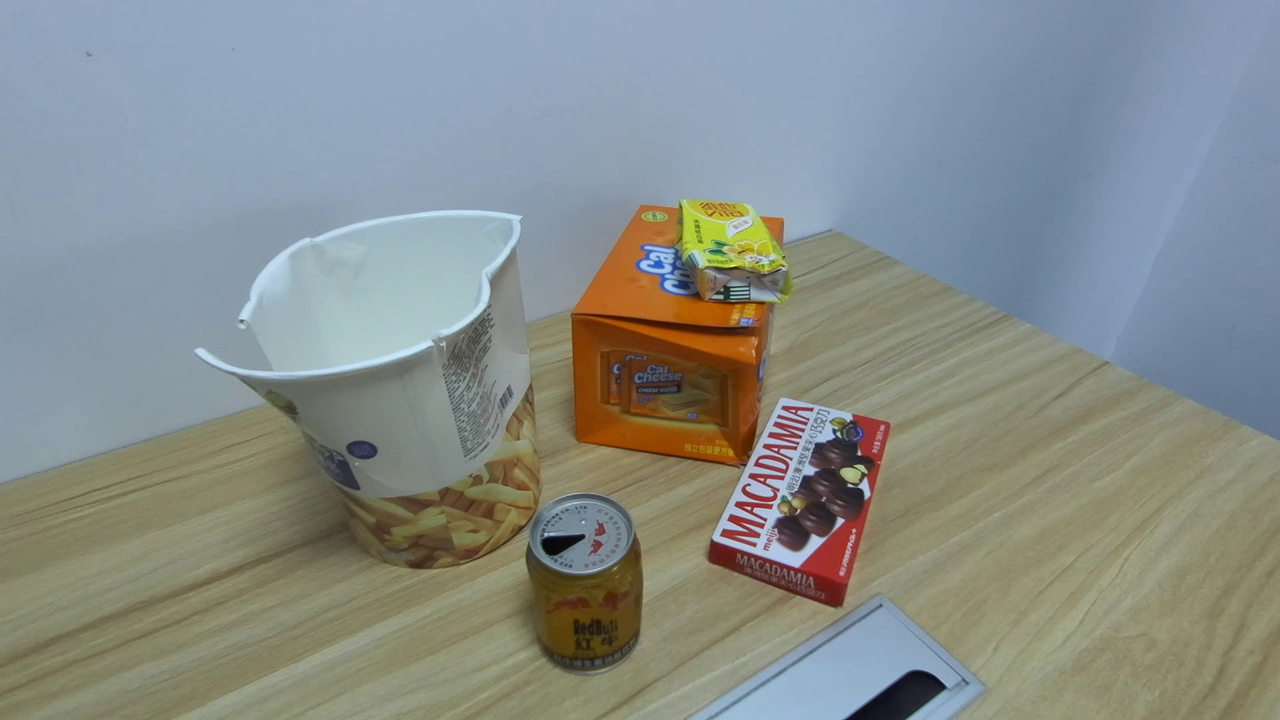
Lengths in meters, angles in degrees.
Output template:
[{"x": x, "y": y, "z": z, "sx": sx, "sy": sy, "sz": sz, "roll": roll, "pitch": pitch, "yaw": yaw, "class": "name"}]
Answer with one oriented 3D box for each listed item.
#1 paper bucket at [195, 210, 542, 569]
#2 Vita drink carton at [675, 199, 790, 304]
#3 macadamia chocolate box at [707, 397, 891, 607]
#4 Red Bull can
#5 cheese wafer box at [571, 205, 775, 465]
[{"x": -0.152, "y": 0.025, "z": 0.488, "sx": 0.146, "sy": 0.197, "sz": 0.202, "roll": -1, "pitch": 35, "yaw": 2, "class": "paper bucket"}, {"x": 0.070, "y": -0.084, "z": 0.559, "sx": 0.087, "sy": 0.042, "sz": 0.108, "roll": 2, "pitch": 37, "yaw": -11, "class": "Vita drink carton"}, {"x": 0.126, "y": 0.096, "z": 0.532, "sx": 0.095, "sy": 0.027, "sz": 0.178, "roll": 14, "pitch": 37, "yaw": 21, "class": "macadamia chocolate box"}, {"x": -0.032, "y": 0.133, "z": 0.423, "sx": 0.068, "sy": 0.093, "sz": 0.068, "roll": -1, "pitch": 34, "yaw": 1, "class": "Red Bull can"}, {"x": 0.042, "y": -0.034, "z": 0.627, "sx": 0.149, "sy": 0.137, "sz": 0.227, "roll": 9, "pitch": 35, "yaw": 12, "class": "cheese wafer box"}]
